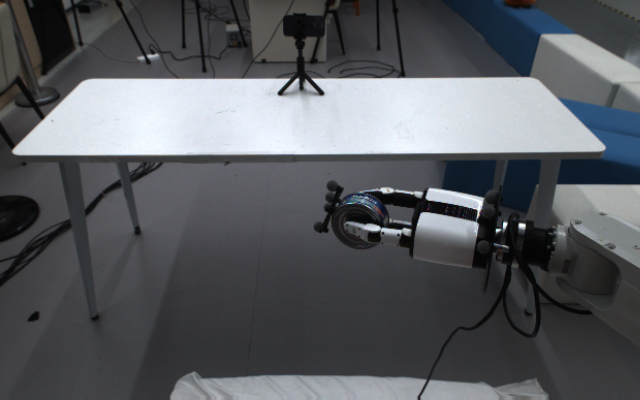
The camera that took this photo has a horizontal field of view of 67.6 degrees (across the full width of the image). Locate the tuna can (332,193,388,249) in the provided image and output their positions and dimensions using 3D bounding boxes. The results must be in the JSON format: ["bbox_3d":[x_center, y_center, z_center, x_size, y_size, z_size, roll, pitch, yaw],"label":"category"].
[{"bbox_3d":[0.064,0.032,0.745,0.085,0.085,0.034,12,30,14],"label":"tuna can"}]
